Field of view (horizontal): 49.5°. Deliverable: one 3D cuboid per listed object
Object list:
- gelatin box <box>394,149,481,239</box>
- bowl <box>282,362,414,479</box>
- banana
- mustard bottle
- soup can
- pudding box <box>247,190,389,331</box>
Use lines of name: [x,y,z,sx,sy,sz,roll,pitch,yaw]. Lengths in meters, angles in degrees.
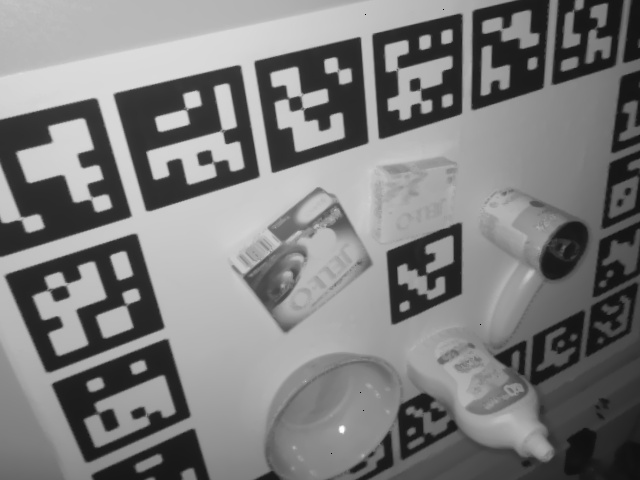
gelatin box: [0.118,-0.047,0.695,0.090,0.030,0.073,-13,116,-24]
bowl: [0.019,0.188,0.743,0.164,0.055,0.160,-14,120,-25]
banana: [0.298,0.065,0.848,0.075,0.038,0.196,24,100,-46]
mustard bottle: [0.210,0.182,0.747,0.097,0.190,0.058,-19,125,-20]
soup can: [0.265,-0.001,0.746,0.069,0.101,0.067,-13,121,-21]
pudding box: [0.001,0.022,0.657,0.114,0.038,0.090,-40,121,-7]
